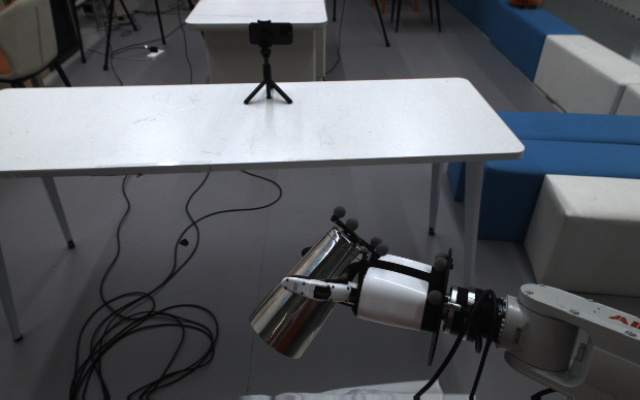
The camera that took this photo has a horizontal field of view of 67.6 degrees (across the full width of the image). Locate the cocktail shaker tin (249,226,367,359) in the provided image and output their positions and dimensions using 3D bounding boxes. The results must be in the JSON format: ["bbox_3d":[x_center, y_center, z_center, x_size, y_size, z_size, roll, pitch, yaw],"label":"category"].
[{"bbox_3d":[-0.009,0.119,0.671,0.170,0.093,0.093,-50,46,4],"label":"cocktail shaker tin"}]
